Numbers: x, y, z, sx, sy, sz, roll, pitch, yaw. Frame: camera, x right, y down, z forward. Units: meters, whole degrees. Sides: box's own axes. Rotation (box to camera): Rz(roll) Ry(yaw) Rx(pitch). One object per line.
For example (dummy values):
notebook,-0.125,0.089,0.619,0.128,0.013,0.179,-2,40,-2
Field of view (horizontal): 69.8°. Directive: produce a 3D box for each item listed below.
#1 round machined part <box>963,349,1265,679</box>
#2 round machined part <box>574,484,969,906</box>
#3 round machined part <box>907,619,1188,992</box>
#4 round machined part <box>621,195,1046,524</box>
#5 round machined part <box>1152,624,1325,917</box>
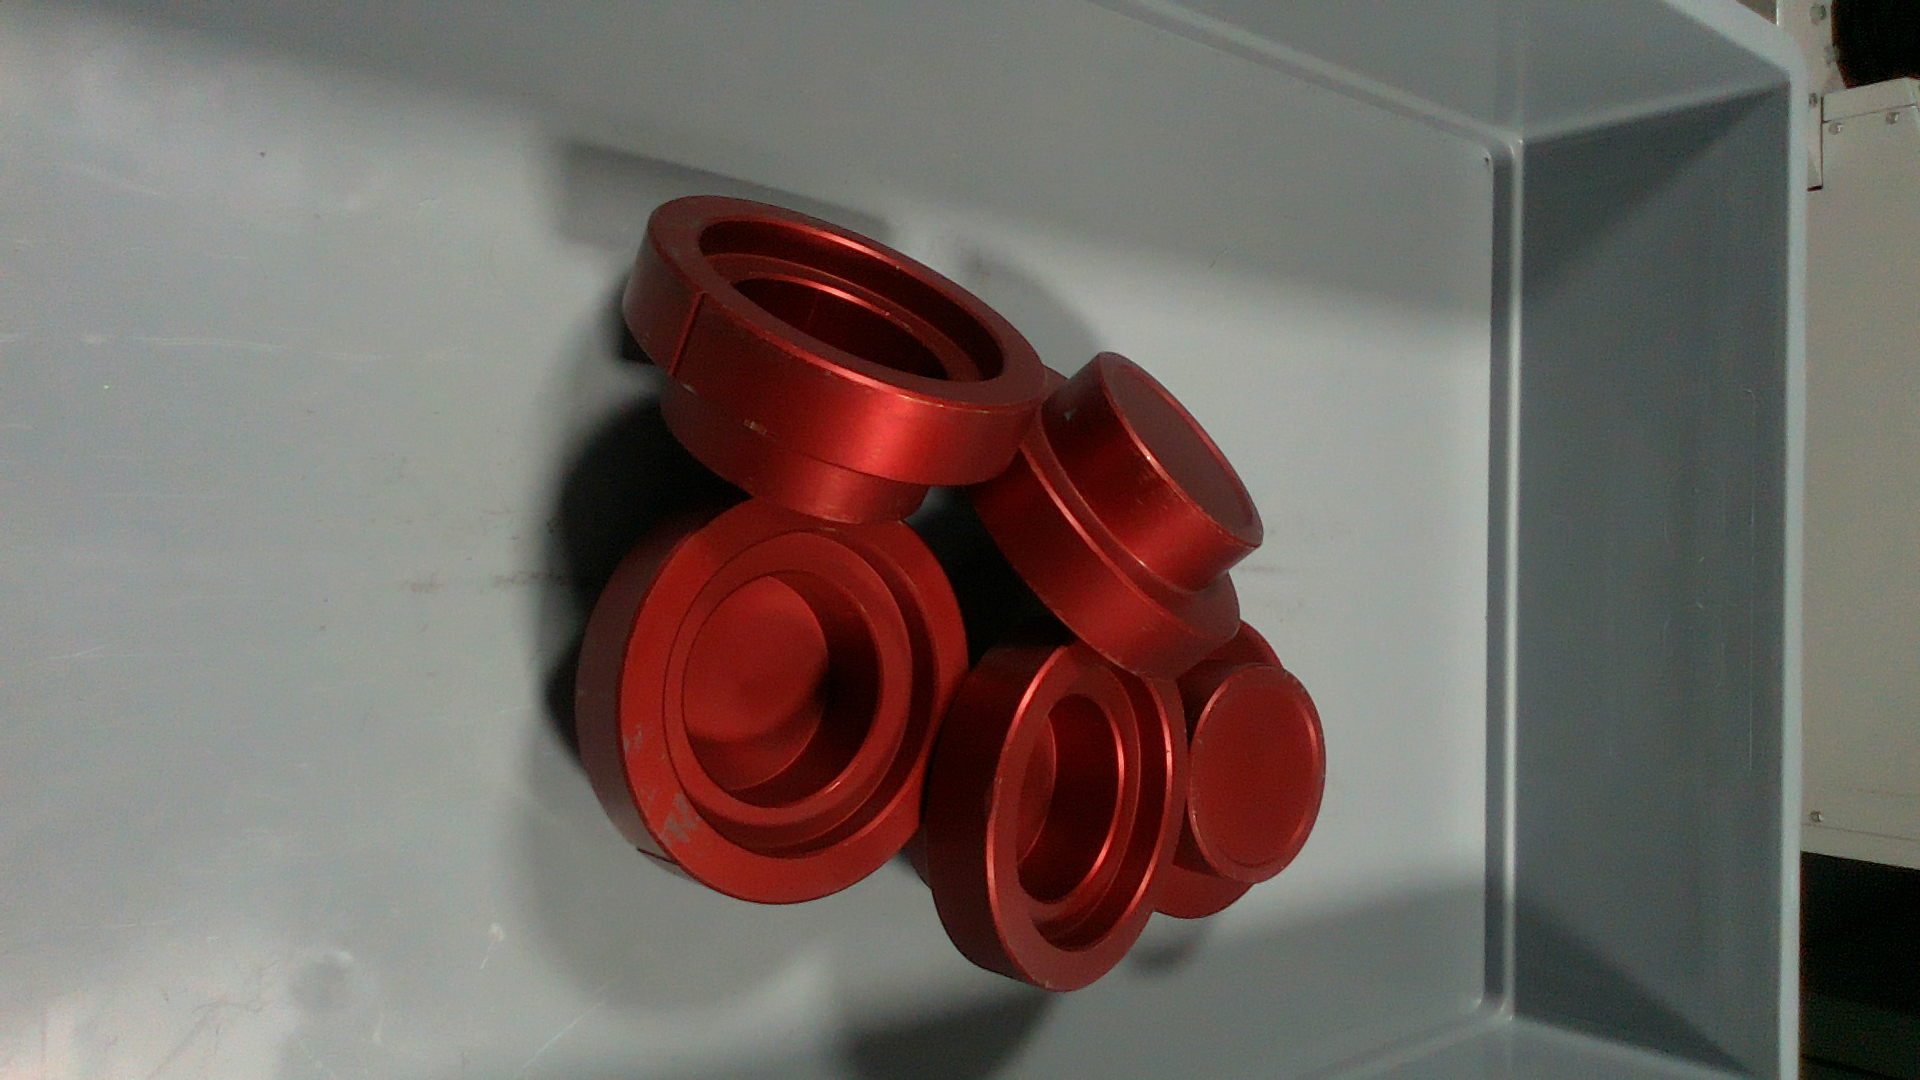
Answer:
round machined part,0.046,-0.014,0.379,0.098,0.042,0.098,39,25,-22
round machined part,-0.048,0.036,0.335,0.098,0.042,0.098,0,90,-40
round machined part,0.021,0.069,0.379,0.098,0.042,0.098,-12,106,-51
round machined part,-0.033,-0.040,0.326,0.098,0.098,0.042,3,123,-40
round machined part,0.080,0.072,0.442,0.098,0.042,0.098,0,90,-40
